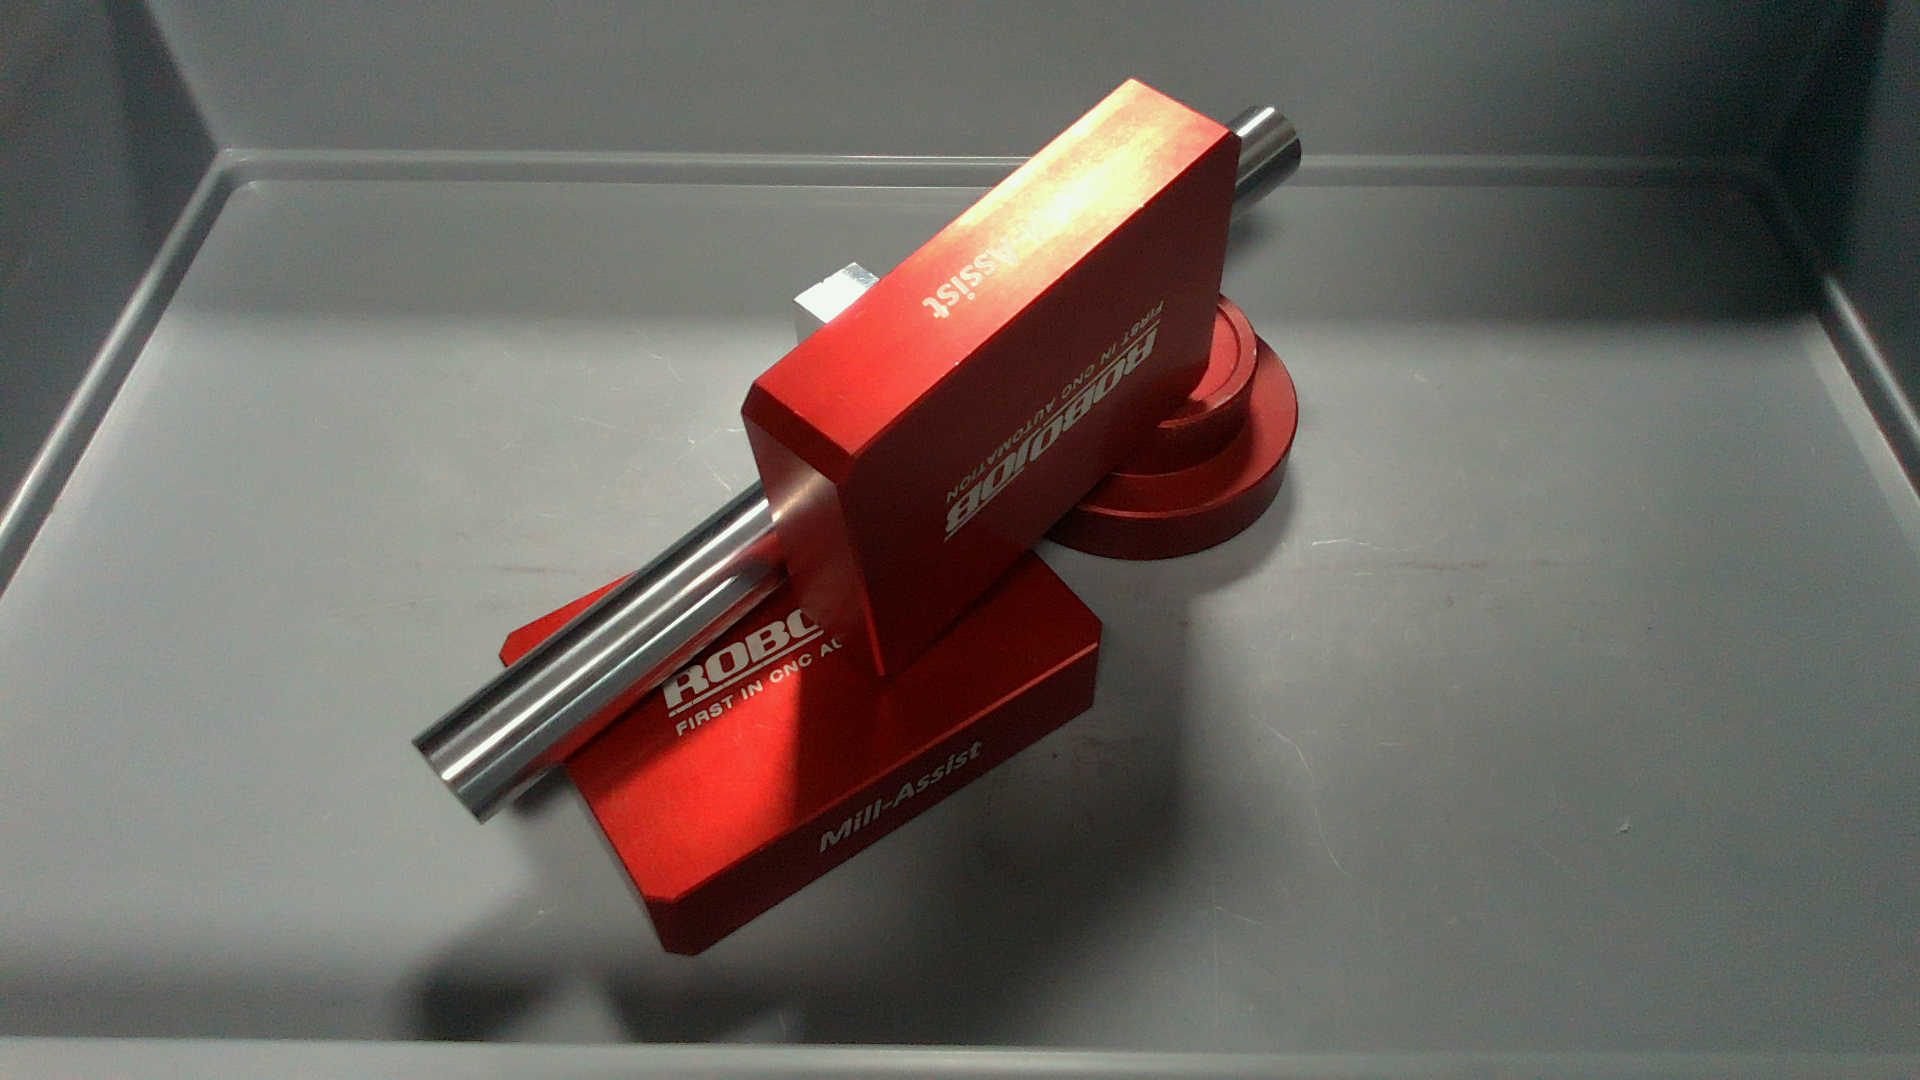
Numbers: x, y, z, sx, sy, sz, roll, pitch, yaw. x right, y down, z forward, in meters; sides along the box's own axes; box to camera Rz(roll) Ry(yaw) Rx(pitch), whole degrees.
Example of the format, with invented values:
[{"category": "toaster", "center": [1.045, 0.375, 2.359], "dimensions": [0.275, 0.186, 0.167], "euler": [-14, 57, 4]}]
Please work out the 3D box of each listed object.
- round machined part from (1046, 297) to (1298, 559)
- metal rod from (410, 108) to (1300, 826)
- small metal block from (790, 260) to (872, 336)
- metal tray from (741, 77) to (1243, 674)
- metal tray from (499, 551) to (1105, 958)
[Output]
[{"category": "round machined part", "center": [0.053, -0.045, 0.416], "dimensions": [0.098, 0.042, 0.098], "euler": [0, 50, 0]}, {"category": "metal rod", "center": [-0.010, -0.034, 0.368], "dimensions": [0.025, 0.025, 0.301], "euler": [37, 63, 27]}, {"category": "small metal block", "center": [-0.023, -0.047, 0.414], "dimensions": [0.025, 0.050, 0.050], "euler": [-37, 59, -27]}, {"category": "metal tray", "center": [0.012, -0.038, 0.330], "dimensions": [0.030, 0.090, 0.130], "euler": [37, 66, 24]}, {"category": "metal tray", "center": [-0.039, 0.034, 0.358], "dimensions": [0.130, 0.030, 0.090], "euler": [-28, 55, -22]}]
